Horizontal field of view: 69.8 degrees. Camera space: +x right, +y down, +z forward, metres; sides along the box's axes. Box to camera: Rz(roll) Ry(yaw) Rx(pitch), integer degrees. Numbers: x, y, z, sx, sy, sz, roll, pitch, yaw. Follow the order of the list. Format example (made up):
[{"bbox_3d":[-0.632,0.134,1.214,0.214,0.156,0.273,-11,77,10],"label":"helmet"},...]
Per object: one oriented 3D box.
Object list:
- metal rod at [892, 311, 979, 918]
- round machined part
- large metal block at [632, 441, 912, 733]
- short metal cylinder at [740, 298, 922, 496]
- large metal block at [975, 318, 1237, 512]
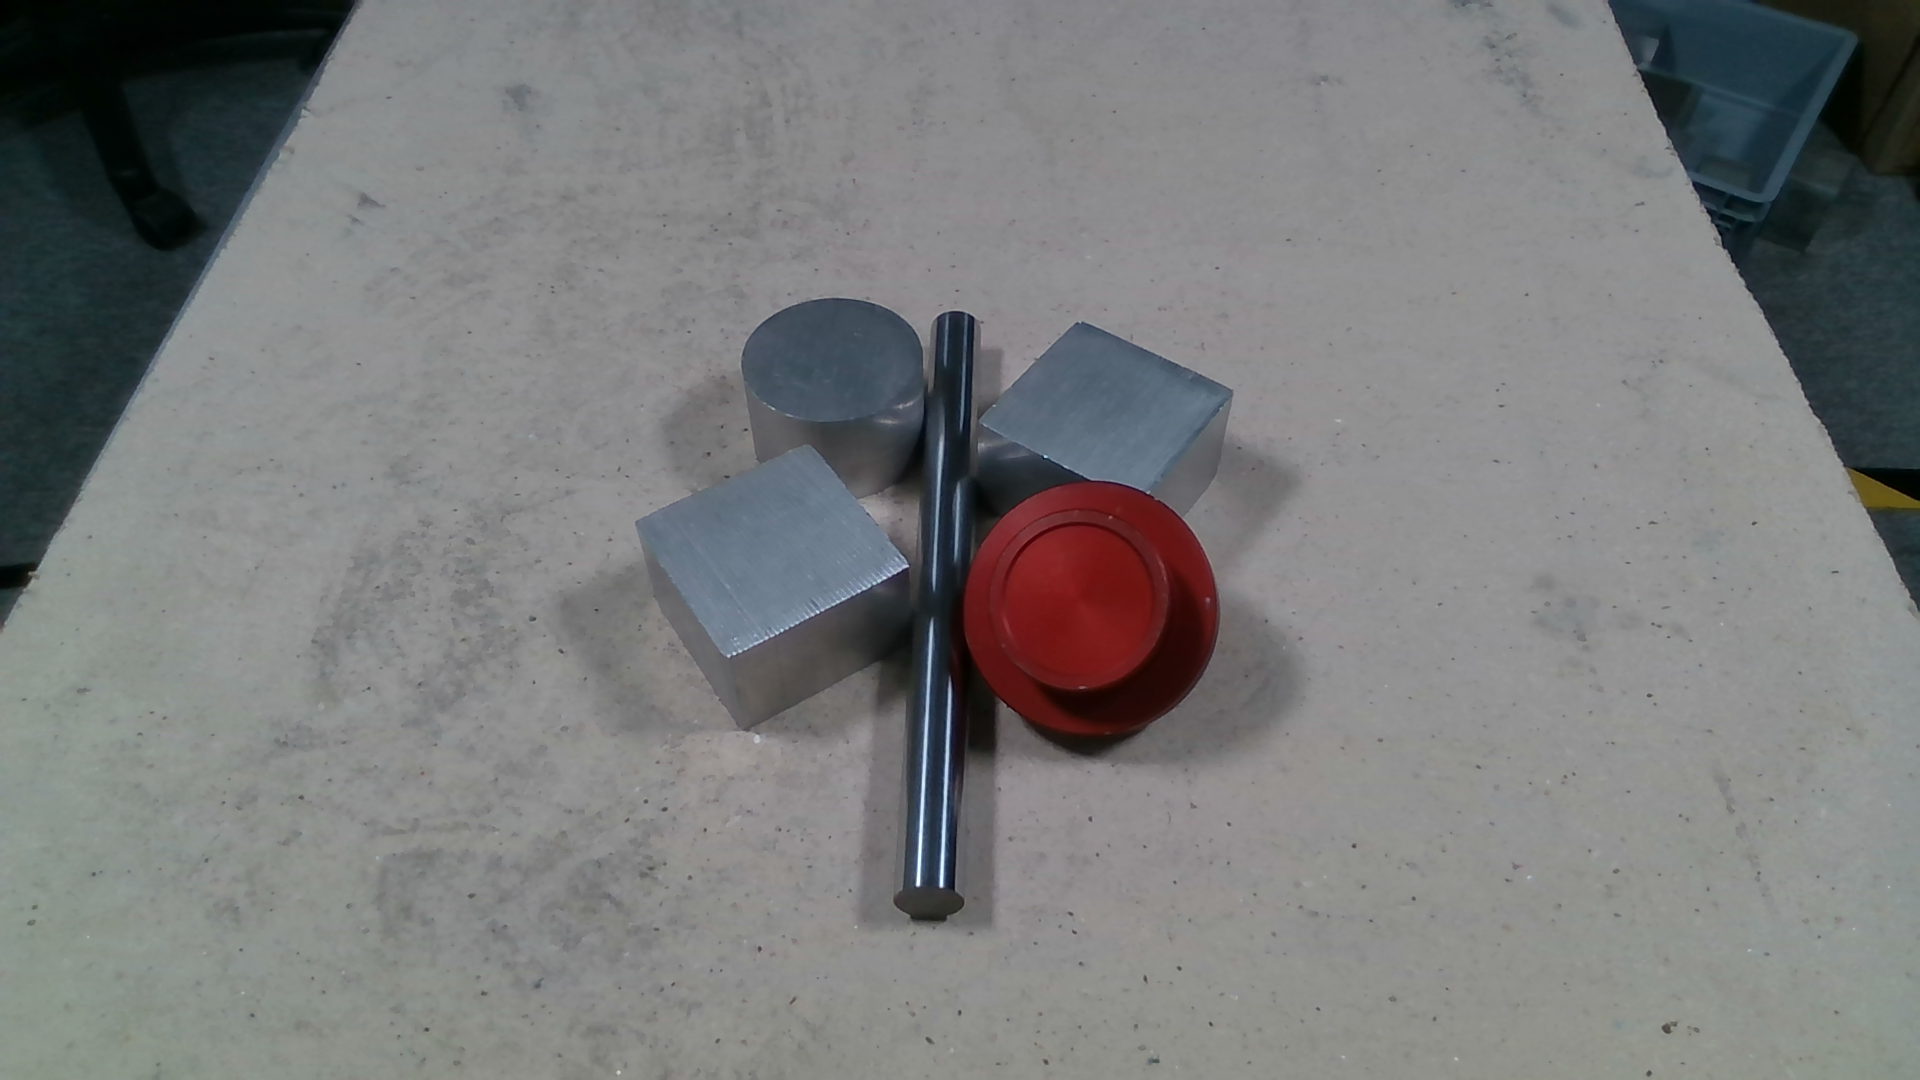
[{"bbox_3d":[-0.007,0.012,0.578,0.025,0.025,0.299,1,50,1],"label":"metal rod"},{"bbox_3d":[0.048,0.024,0.525,0.098,0.042,0.098,-3,78,14],"label":"round machined part"},{"bbox_3d":[-0.075,0.017,0.557,0.080,0.050,0.080,-27,55,-21],"label":"large metal block"},{"bbox_3d":[-0.057,-0.064,0.625,0.080,0.050,0.080,0,50,0],"label":"short metal cylinder"},{"bbox_3d":[0.062,-0.041,0.602,0.080,0.050,0.080,30,56,22],"label":"large metal block"}]
